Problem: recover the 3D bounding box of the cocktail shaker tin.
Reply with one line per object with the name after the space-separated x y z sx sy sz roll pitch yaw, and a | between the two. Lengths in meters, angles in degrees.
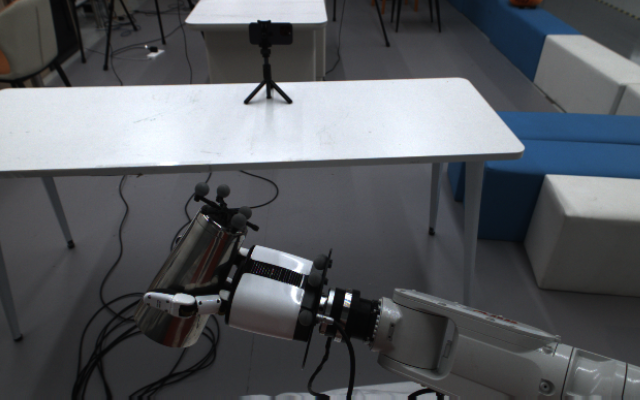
-0.158 0.091 0.621 0.093 0.170 0.093 28 14 -8 | cocktail shaker tin
